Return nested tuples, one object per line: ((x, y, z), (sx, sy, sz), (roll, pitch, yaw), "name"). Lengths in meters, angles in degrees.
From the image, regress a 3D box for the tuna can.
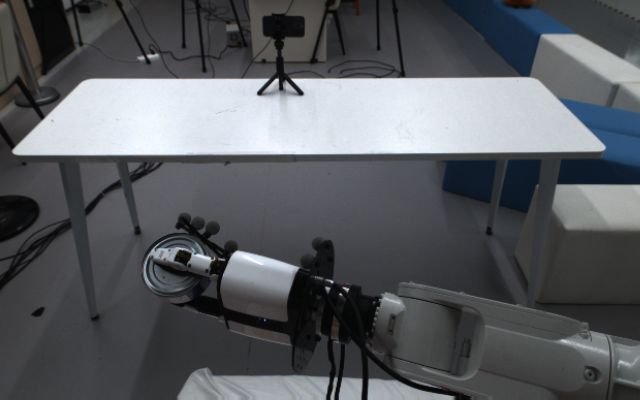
((-0.179, 0.087, 0.615), (0.085, 0.034, 0.085), (-2, 59, 3), "tuna can")
